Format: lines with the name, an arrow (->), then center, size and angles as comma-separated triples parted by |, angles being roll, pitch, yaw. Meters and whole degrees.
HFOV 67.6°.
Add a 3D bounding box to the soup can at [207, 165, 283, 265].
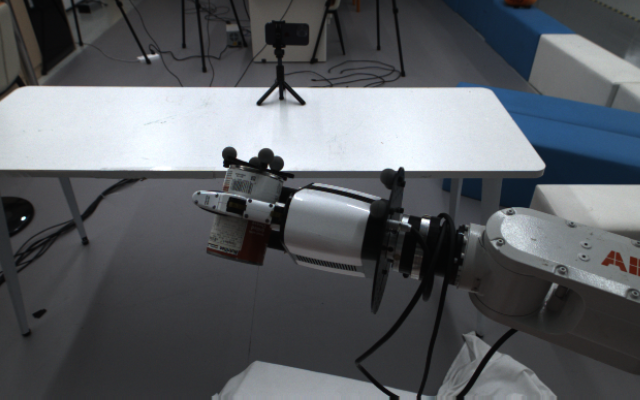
soup can -> -0.083, 0.019, 0.552 | 0.067, 0.101, 0.067 | 13, -6, 1
